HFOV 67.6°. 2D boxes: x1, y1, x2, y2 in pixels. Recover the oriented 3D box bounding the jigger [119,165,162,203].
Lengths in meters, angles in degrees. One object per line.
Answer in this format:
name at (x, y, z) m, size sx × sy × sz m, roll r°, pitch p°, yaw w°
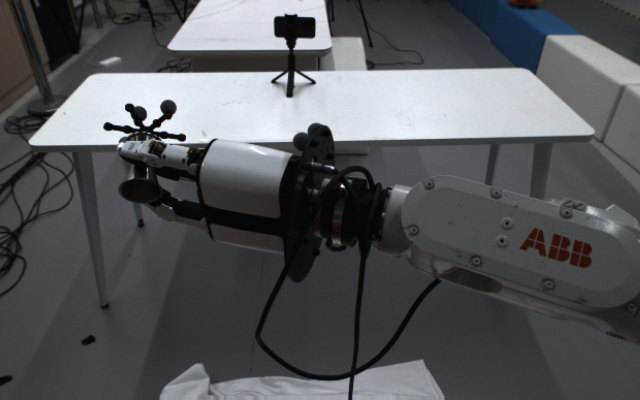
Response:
jigger at (-0.193, -0.035, 0.532) m, size 0.043 × 0.043 × 0.071 m, roll -4°, pitch 57°, yaw -9°
